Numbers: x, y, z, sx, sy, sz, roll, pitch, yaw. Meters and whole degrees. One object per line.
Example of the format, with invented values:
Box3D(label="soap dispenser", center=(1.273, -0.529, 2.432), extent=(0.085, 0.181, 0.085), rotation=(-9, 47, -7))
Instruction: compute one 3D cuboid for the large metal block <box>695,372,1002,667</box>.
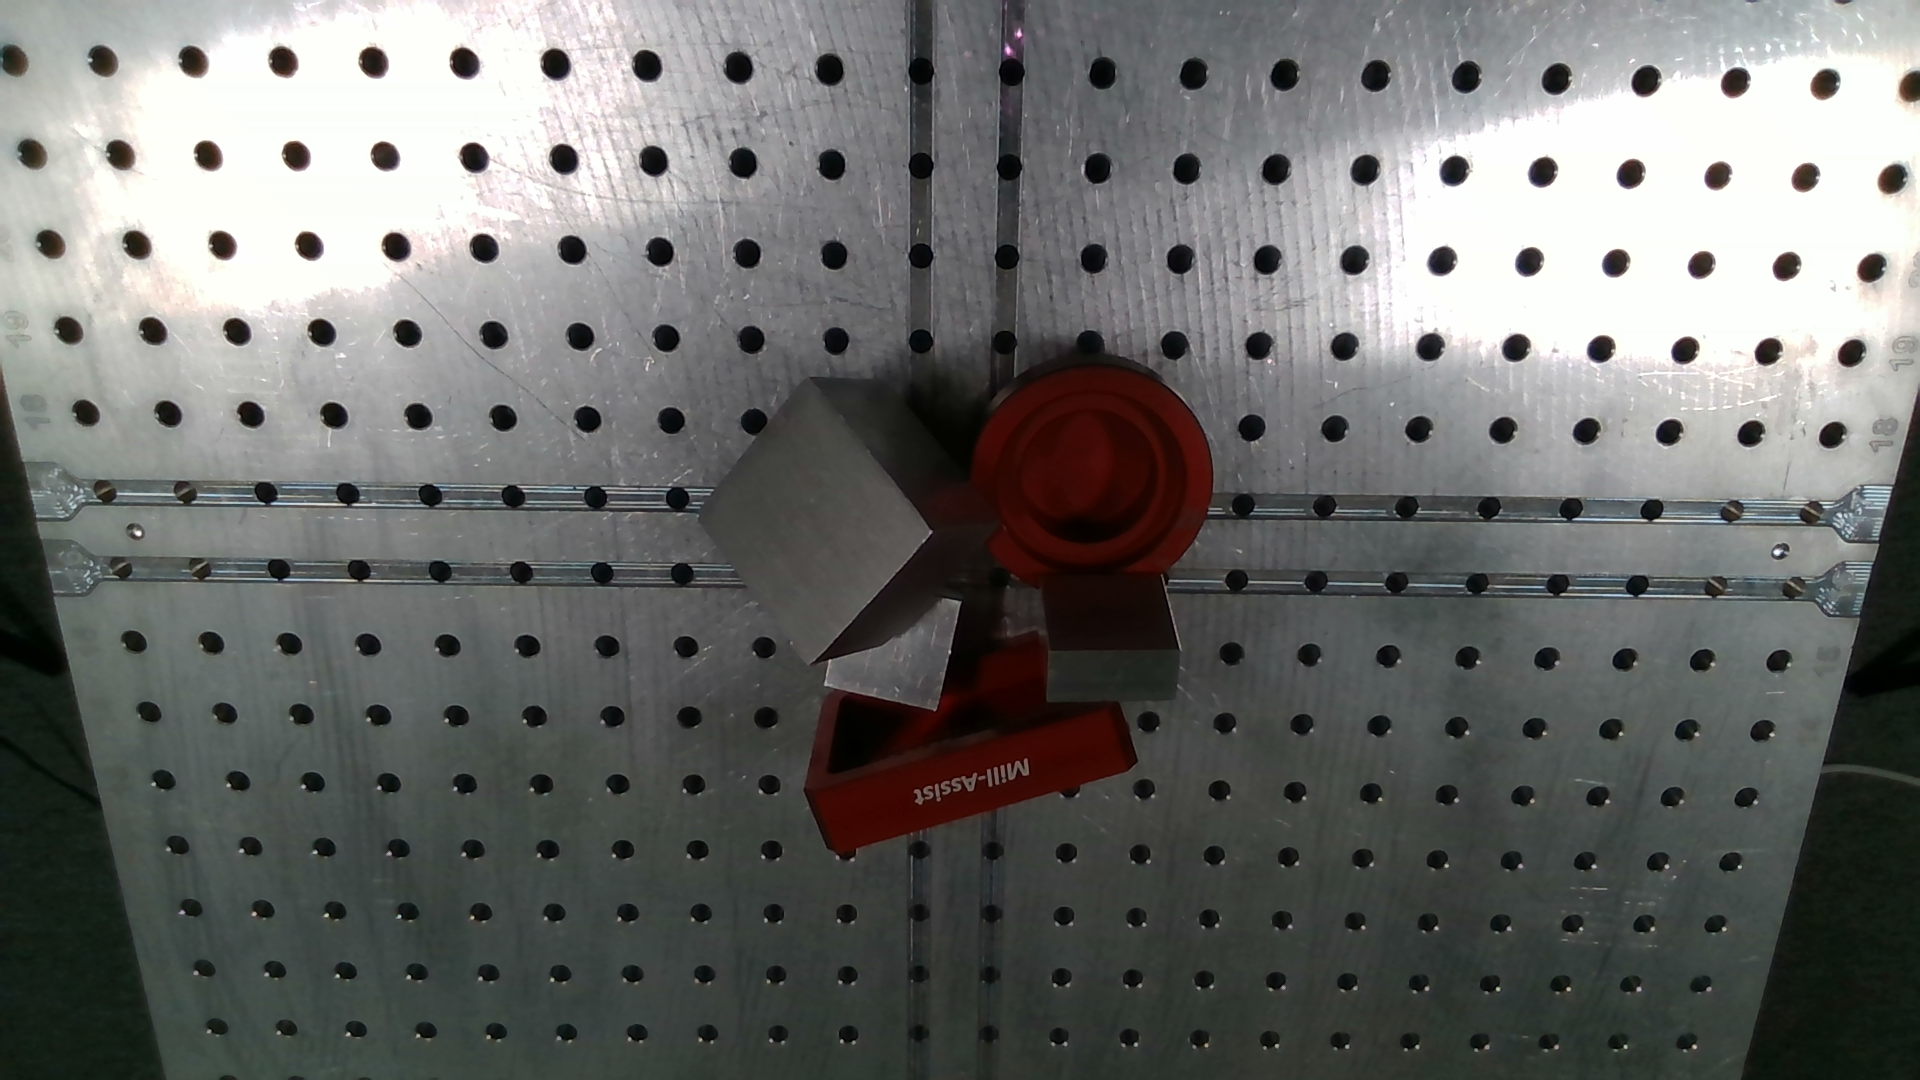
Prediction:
Box3D(label="large metal block", center=(-0.045, -0.009, 0.546), extent=(0.080, 0.050, 0.080), rotation=(-47, 72, 26))

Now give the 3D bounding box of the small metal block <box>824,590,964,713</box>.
Box3D(label="small metal block", center=(-0.028, 0.043, 0.598), extent=(0.050, 0.025, 0.050), rotation=(12, 99, 0))

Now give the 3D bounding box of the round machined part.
Box3D(label="round machined part", center=(0.052, -0.030, 0.567), extent=(0.098, 0.042, 0.098), rotation=(0, 110, 0))

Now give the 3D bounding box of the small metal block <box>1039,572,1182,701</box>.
Box3D(label="small metal block", center=(0.058, 0.038, 0.544), extent=(0.050, 0.050, 0.025), rotation=(-1, 124, -1))

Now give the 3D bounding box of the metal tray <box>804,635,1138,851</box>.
Box3D(label="metal tray", center=(0.004, 0.079, 0.582), extent=(0.130, 0.090, 0.030), rotation=(-17, 109, 6))
